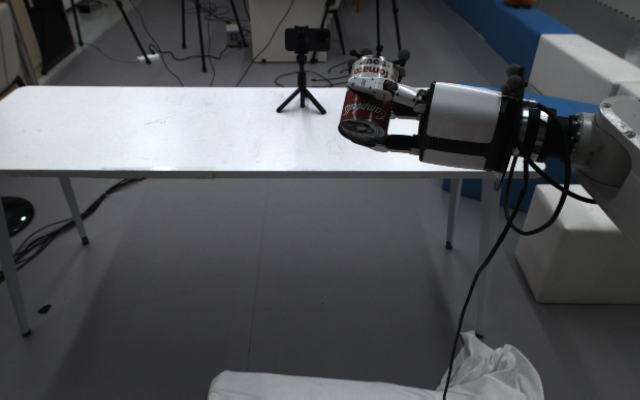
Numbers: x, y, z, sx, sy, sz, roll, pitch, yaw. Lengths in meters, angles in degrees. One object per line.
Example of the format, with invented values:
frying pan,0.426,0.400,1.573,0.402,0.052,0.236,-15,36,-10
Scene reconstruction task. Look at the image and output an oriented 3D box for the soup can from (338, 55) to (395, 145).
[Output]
soup can,0.068,-0.139,0.666,0.067,0.067,0.101,9,72,9
